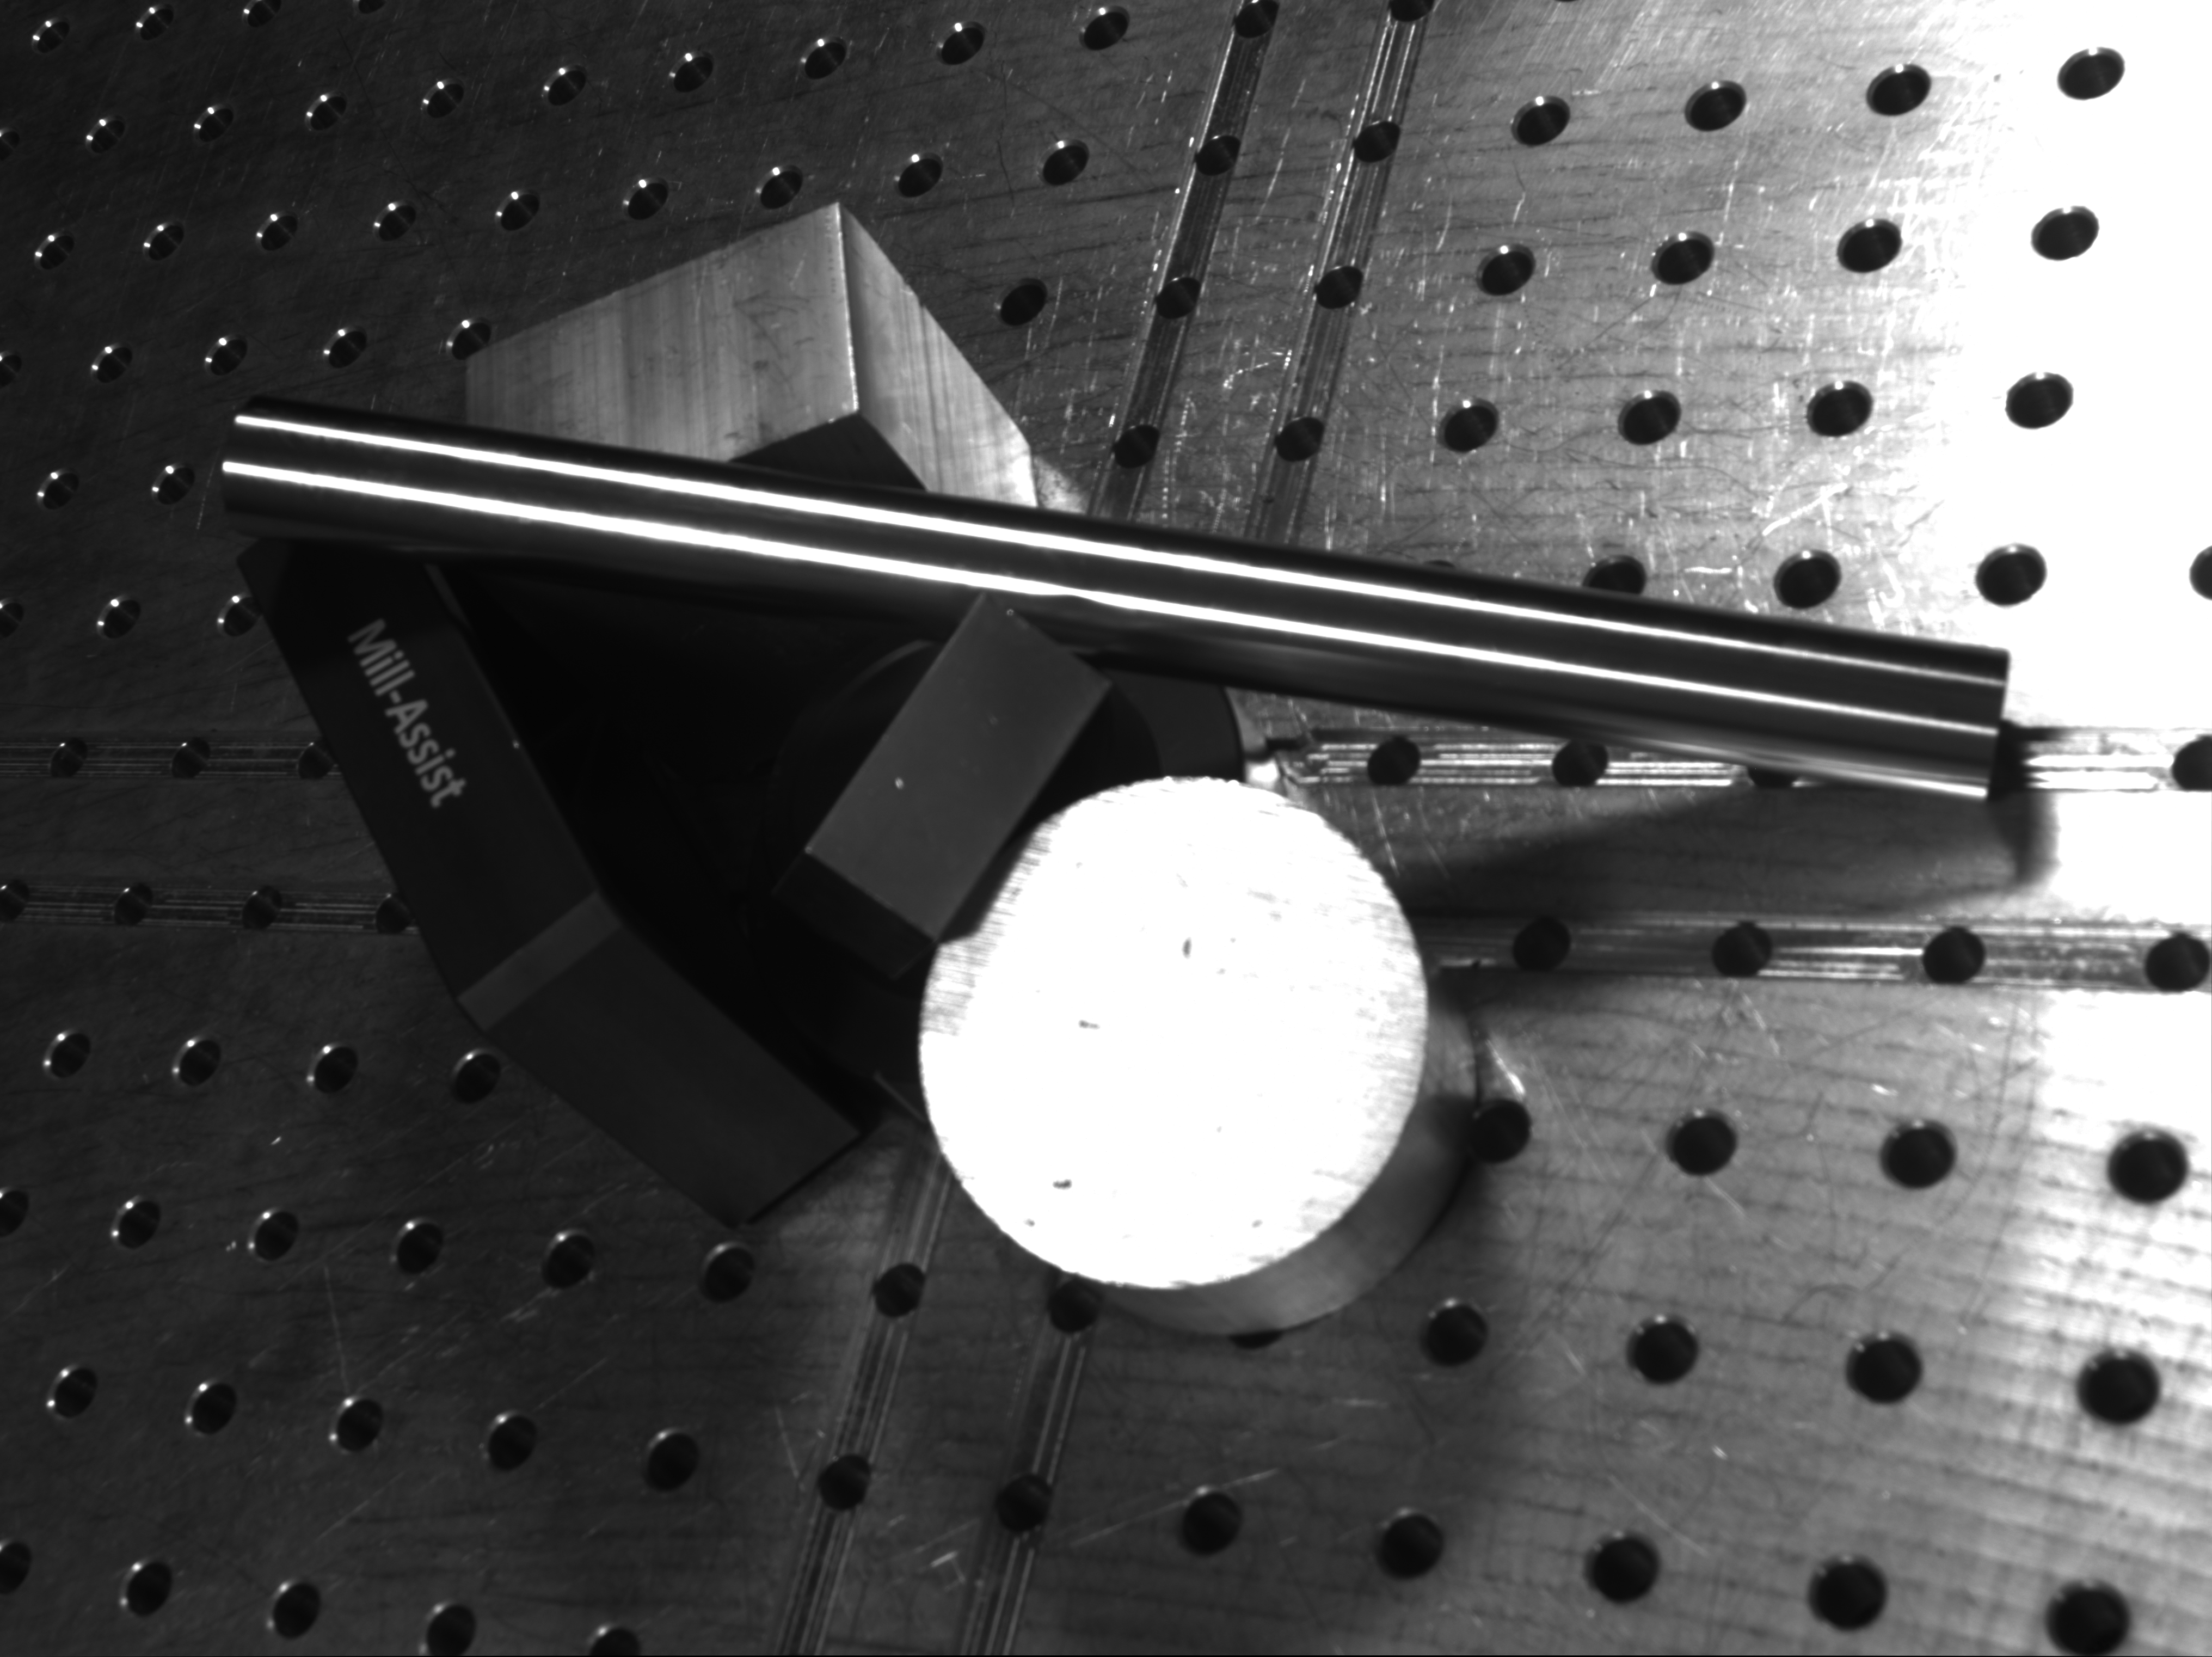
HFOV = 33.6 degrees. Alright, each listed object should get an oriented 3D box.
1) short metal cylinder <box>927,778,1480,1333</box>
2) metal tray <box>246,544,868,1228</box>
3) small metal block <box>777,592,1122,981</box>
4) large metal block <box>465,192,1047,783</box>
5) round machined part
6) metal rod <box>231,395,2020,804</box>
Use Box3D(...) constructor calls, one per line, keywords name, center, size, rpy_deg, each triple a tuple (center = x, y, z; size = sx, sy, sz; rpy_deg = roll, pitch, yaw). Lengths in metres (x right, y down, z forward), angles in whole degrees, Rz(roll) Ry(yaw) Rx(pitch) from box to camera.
Box3D(name="short metal cylinder", center=(0.017, 0.037, 0.584), size=(0.080, 0.050, 0.080), rpy_deg=(-3, 74, 12))
Box3D(name="metal tray", center=(-0.099, 0.002, 0.657), size=(0.030, 0.090, 0.130), rpy_deg=(-37, 51, 3))
Box3D(name="small metal block", center=(-0.026, -0.006, 0.592), size=(0.025, 0.050, 0.050), rpy_deg=(35, 76, -4))
Box3D(name="large metal block", center=(-0.063, -0.061, 0.682), size=(0.080, 0.080, 0.050), rpy_deg=(-20, 54, 17))
Box3D(name="round machined part", center=(-0.018, 0.002, 0.649), size=(0.098, 0.042, 0.098), rpy_deg=(-13, 56, 21))
Box3D(name="metal rod", center=(-0.002, -0.040, 0.611), size=(0.300, 0.025, 0.025), rpy_deg=(9, 65, 11))
